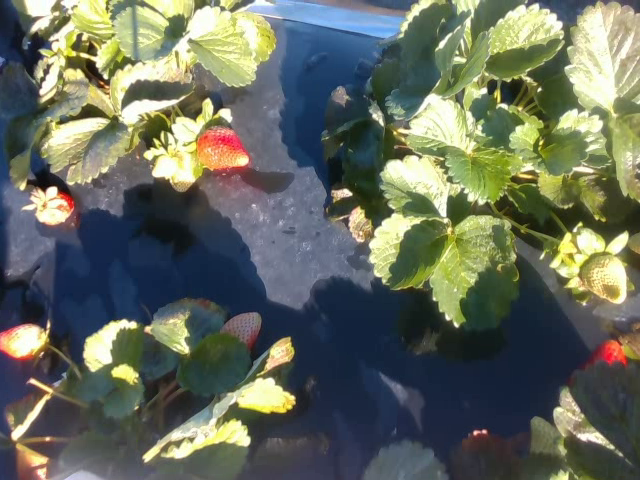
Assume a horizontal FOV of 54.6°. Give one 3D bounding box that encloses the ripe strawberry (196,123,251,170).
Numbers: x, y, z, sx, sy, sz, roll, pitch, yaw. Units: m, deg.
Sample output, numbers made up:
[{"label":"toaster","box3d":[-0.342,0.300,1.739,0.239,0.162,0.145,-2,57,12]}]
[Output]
[{"label":"ripe strawberry","box3d":[-0.085,-0.081,0.558,0.064,0.050,0.052,25,17,30]}]
